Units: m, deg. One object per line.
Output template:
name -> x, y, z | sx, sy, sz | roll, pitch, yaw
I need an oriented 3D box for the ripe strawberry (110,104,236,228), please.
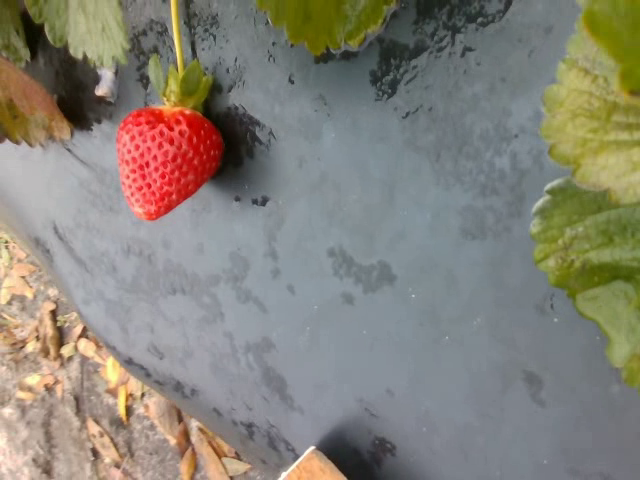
ripe strawberry -> -0.064, -0.032, 0.250 | 0.048, 0.054, 0.045 | 19, -8, -33
